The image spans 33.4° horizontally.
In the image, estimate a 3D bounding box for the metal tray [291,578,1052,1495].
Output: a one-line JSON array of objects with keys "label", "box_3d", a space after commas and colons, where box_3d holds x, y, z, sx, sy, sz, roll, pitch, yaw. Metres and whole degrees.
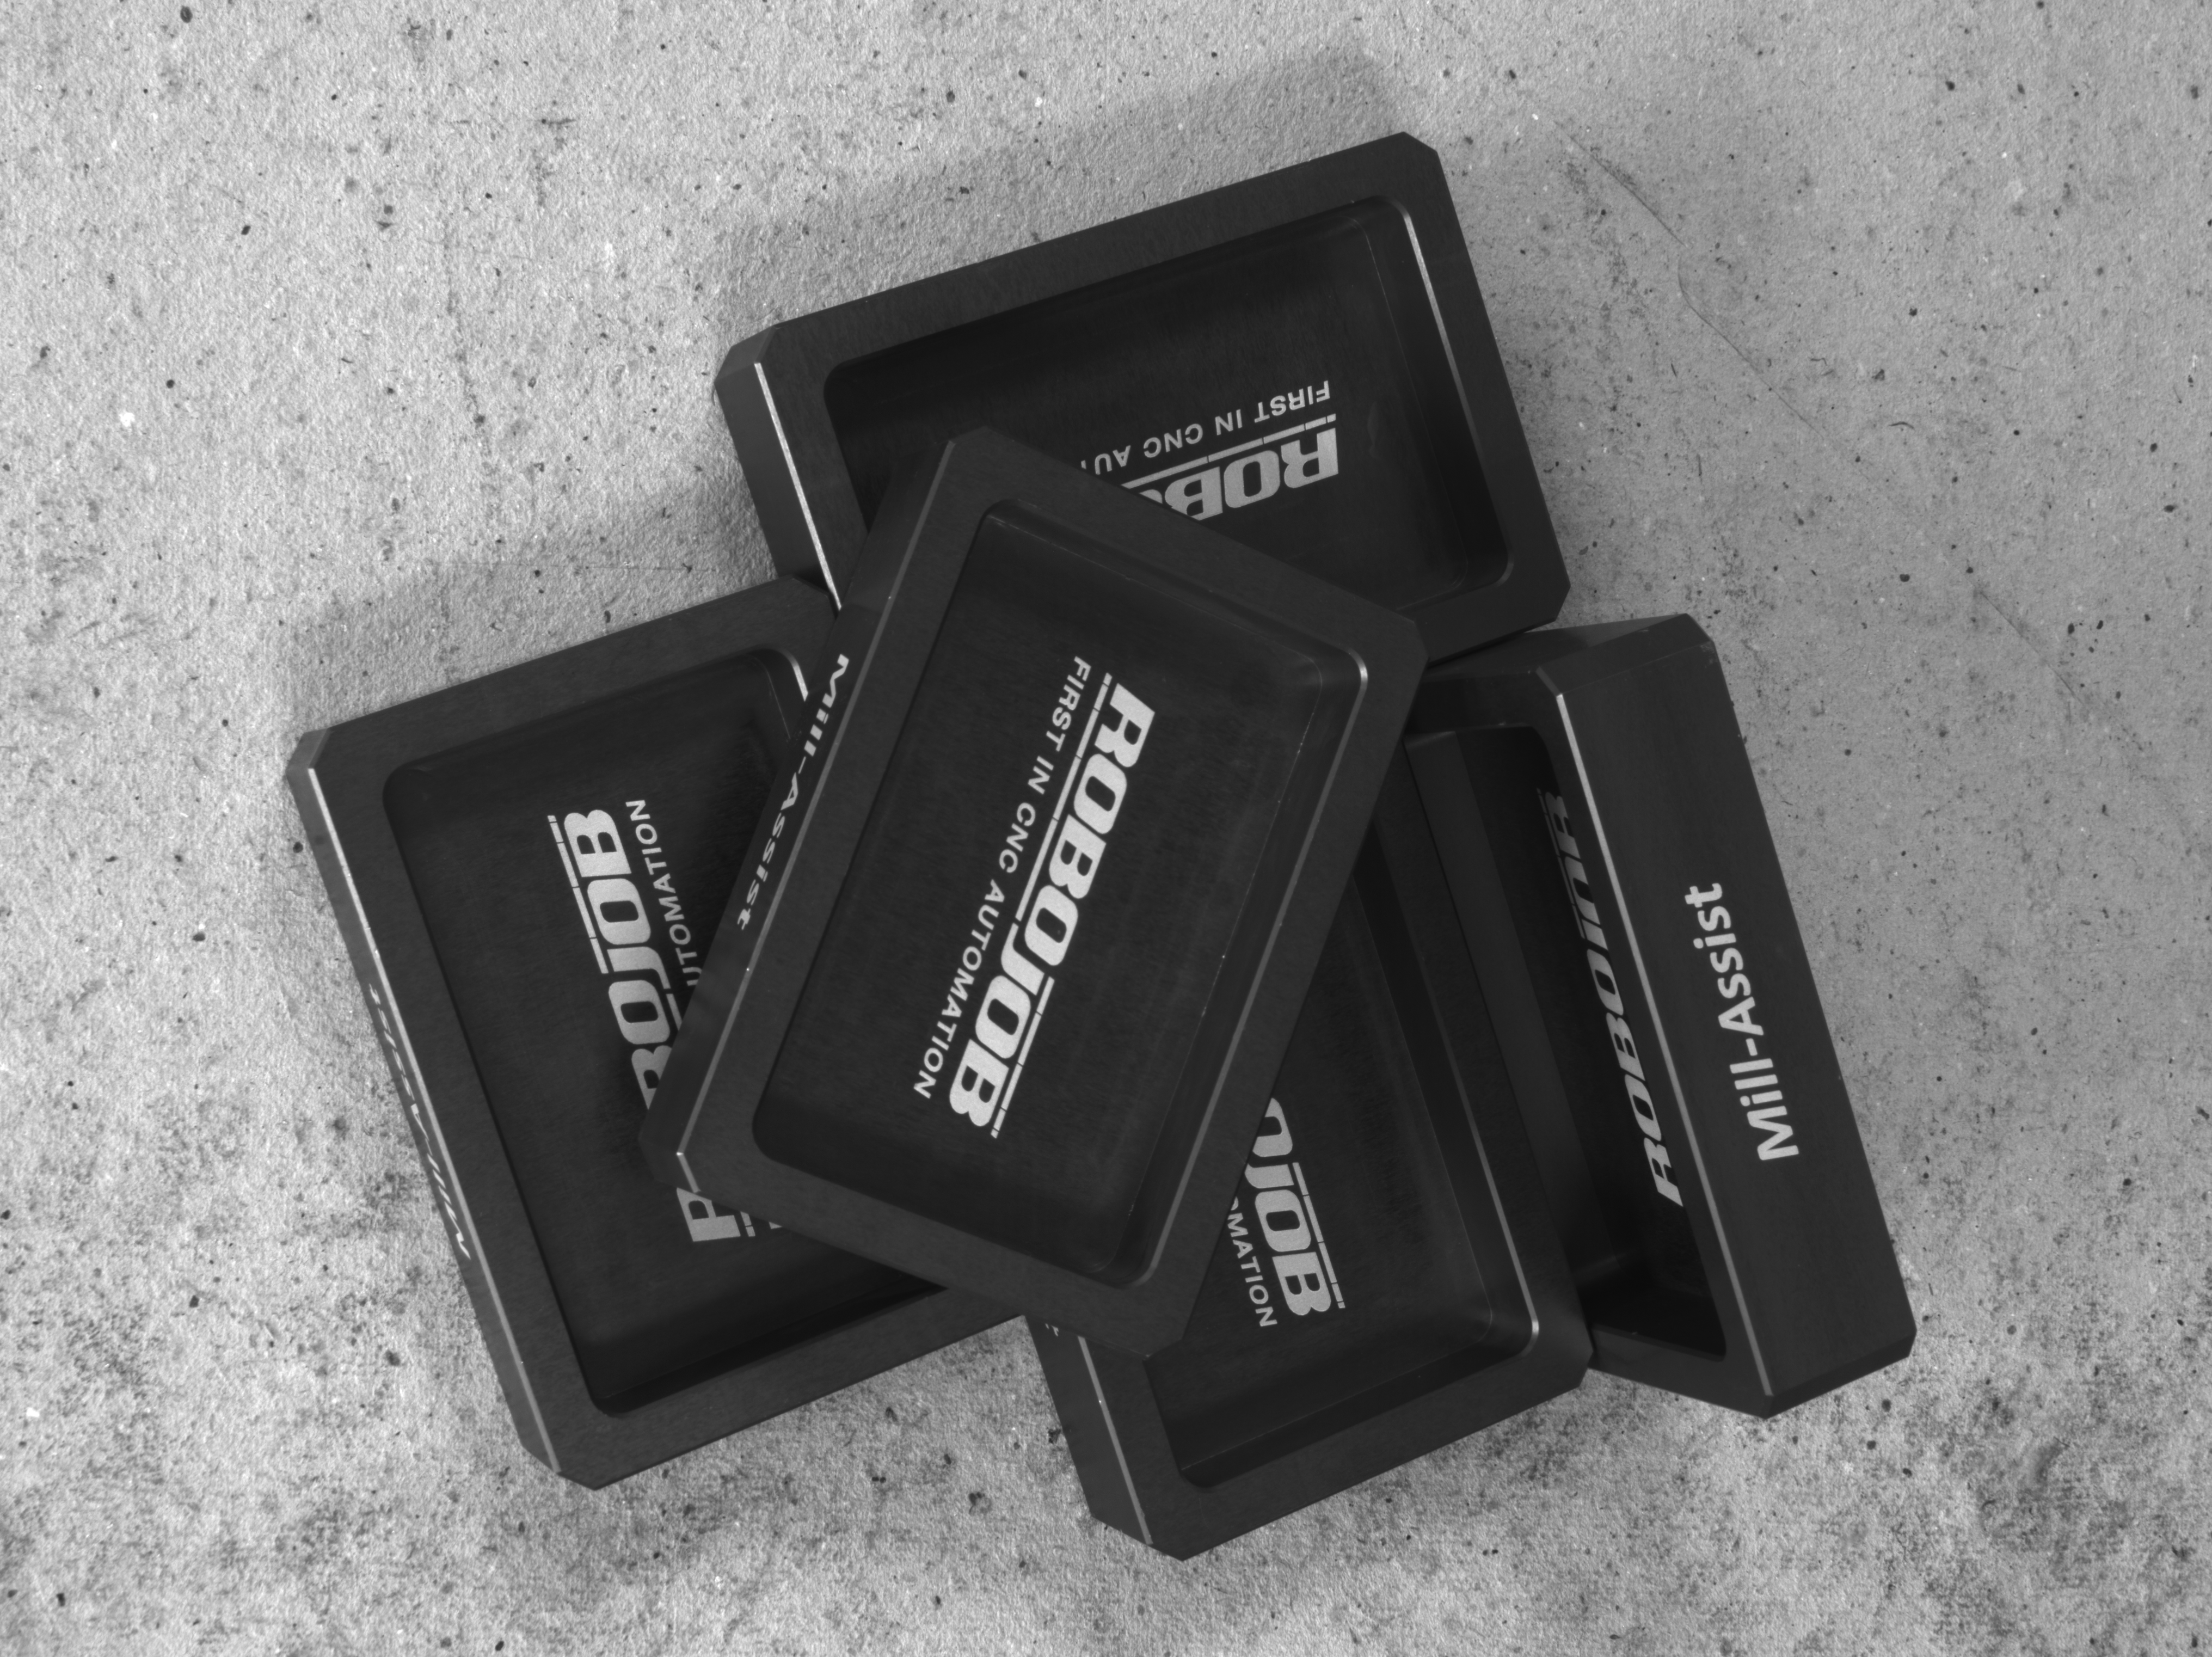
[{"label": "metal tray", "box_3d": [-0.071, 0.033, 0.614, 0.090, 0.030, 0.130, -20, 96, -18]}]

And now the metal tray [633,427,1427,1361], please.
[{"label": "metal tray", "box_3d": [-0.012, 0.011, 0.606, 0.090, 0.030, 0.130, 23, 83, -18]}]

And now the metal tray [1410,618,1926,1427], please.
[{"label": "metal tray", "box_3d": [0.090, 0.032, 0.639, 0.030, 0.090, 0.130, -19, 97, -19]}]

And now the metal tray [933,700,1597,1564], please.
[{"label": "metal tray", "box_3d": [0.024, 0.051, 0.648, 0.090, 0.030, 0.130, -20, 98, -18]}]

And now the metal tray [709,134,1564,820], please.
[{"label": "metal tray", "box_3d": [0.007, -0.060, 0.644, 0.130, 0.030, 0.090, -19, 96, -18]}]
